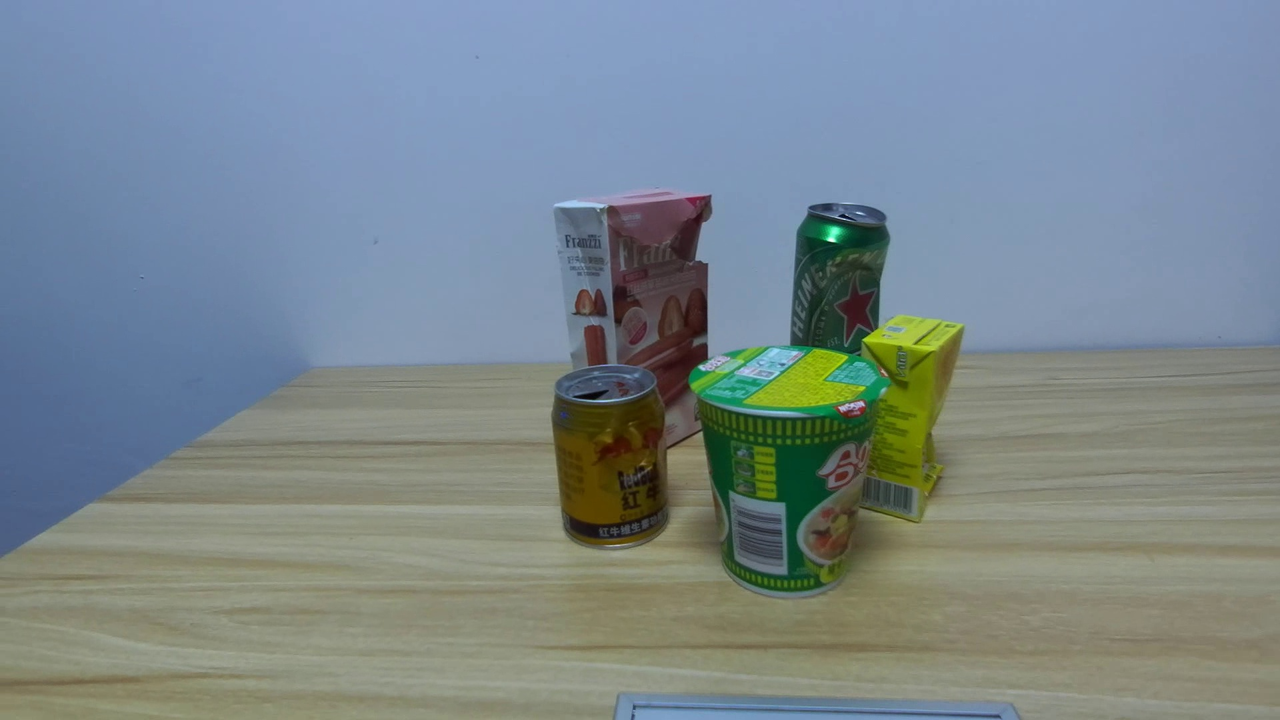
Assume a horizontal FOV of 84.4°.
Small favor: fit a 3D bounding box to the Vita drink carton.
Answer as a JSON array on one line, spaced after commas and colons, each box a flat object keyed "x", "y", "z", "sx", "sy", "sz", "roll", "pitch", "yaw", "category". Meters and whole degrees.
[{"x": 0.166, "y": 0.032, "z": 0.433, "sx": 0.043, "sy": 0.109, "sz": 0.077, "roll": 11, "pitch": 22, "yaw": 35, "category": "Vita drink carton"}]

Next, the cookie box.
[{"x": -0.001, "y": -0.024, "z": 0.512, "sx": 0.105, "sy": 0.186, "sz": 0.059, "roll": -19, "pitch": 26, "yaw": -40, "category": "cookie box"}]

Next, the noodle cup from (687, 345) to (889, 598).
[{"x": 0.074, "y": 0.058, "z": 0.368, "sx": 0.097, "sy": 0.110, "sz": 0.097, "roll": -2, "pitch": 19, "yaw": 1, "category": "noodle cup"}]

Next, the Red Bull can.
[{"x": -0.017, "y": 0.055, "z": 0.422, "sx": 0.068, "sy": 0.093, "sz": 0.068, "roll": -4, "pitch": 19, "yaw": 2, "category": "Red Bull can"}]
